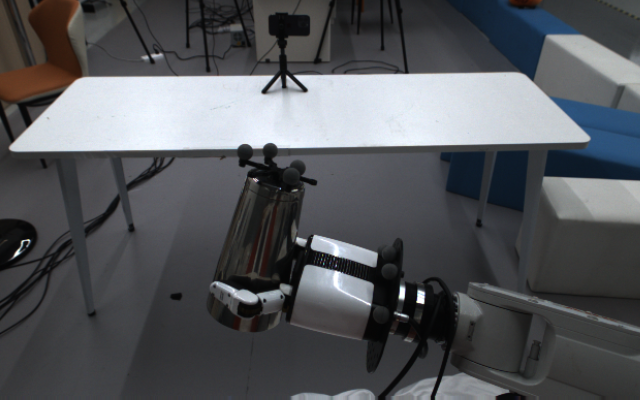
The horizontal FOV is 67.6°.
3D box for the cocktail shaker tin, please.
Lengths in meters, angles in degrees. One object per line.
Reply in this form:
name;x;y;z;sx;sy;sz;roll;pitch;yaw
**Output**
cocktail shaker tin;-0.068;0.054;0.556;0.093;0.170;0.093;14;20;-5
